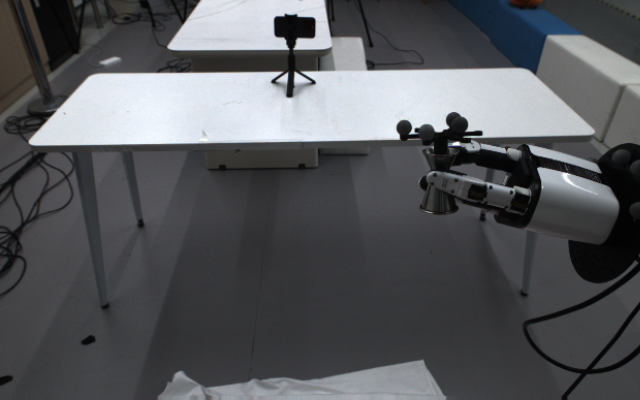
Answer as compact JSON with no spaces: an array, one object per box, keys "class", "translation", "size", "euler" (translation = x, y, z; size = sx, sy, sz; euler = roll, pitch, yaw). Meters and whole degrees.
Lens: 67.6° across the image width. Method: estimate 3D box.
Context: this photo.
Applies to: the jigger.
[{"class":"jigger","translation":[0.135,-0.022,0.548],"size":[0.043,0.071,0.043],"euler":[-2,19,1]}]
